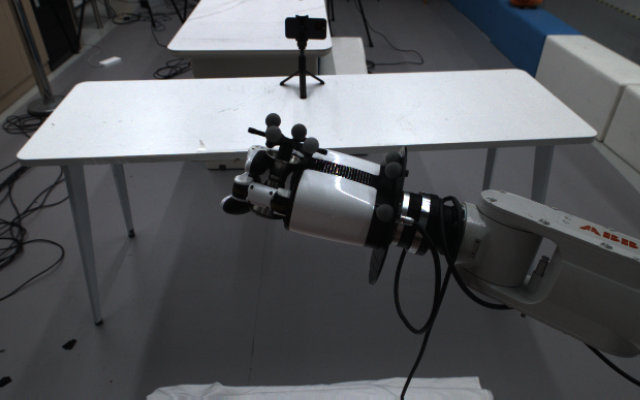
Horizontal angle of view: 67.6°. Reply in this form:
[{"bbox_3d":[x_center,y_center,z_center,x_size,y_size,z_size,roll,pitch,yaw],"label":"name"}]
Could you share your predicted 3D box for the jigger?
[{"bbox_3d":[-0.049,-0.017,0.544,0.043,0.071,0.043,18,17,-6],"label":"jigger"}]
